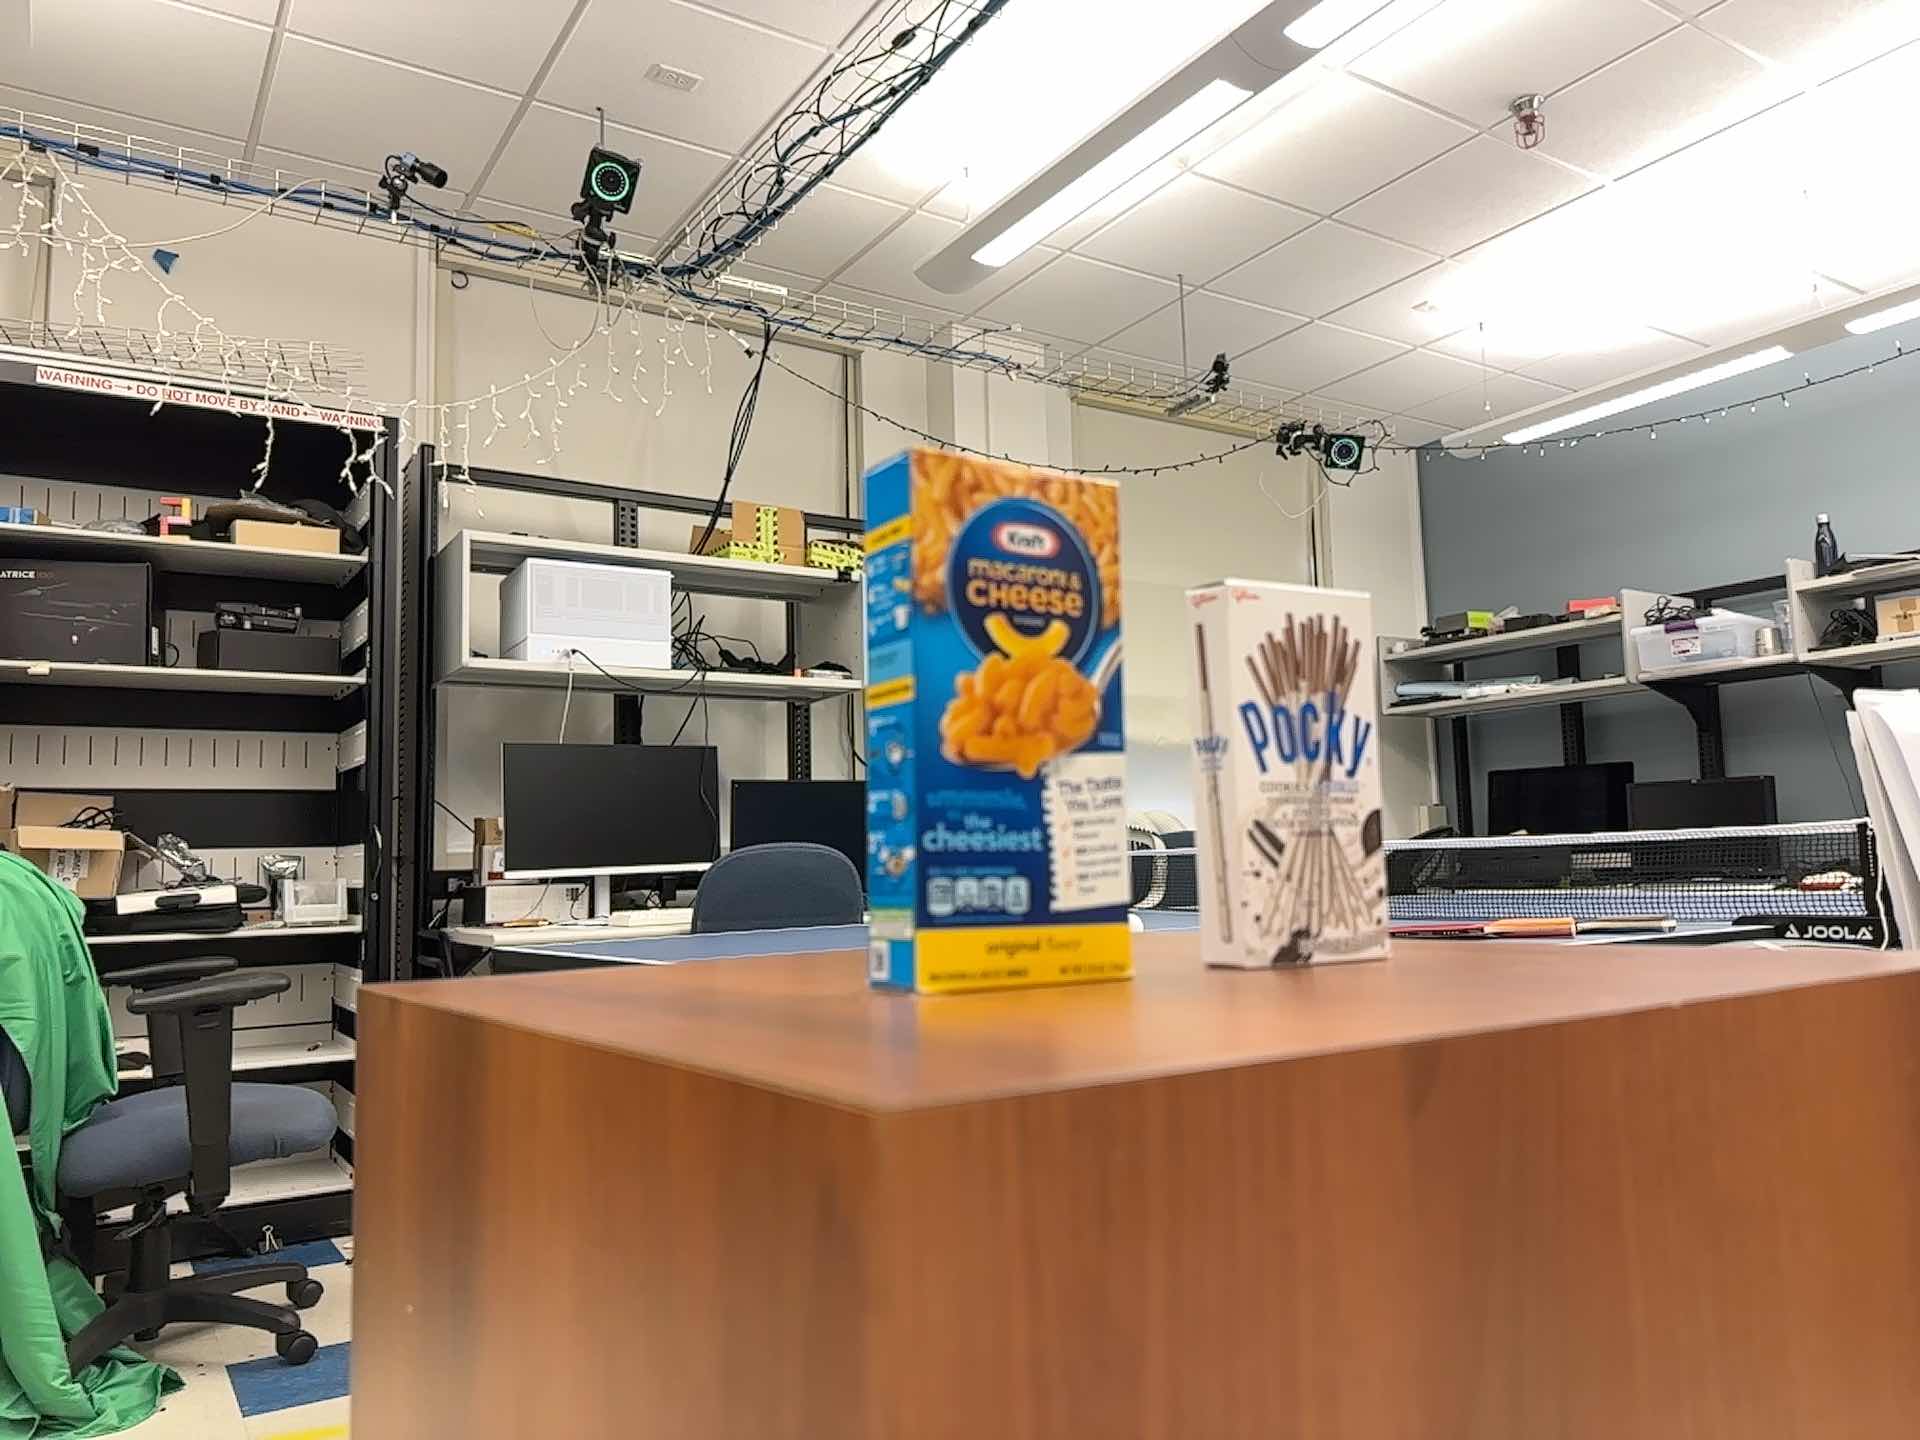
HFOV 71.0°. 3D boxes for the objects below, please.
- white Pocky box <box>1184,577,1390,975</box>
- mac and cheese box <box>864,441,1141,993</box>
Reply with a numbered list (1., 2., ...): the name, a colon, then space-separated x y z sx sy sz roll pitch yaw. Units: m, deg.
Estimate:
1. white Pocky box: 0.131 0.023 0.539 0.084 0.154 0.028 3 -7 -26
2. mac and cheese box: 0.015 0.000 0.477 0.088 0.181 0.035 2 -8 -29
